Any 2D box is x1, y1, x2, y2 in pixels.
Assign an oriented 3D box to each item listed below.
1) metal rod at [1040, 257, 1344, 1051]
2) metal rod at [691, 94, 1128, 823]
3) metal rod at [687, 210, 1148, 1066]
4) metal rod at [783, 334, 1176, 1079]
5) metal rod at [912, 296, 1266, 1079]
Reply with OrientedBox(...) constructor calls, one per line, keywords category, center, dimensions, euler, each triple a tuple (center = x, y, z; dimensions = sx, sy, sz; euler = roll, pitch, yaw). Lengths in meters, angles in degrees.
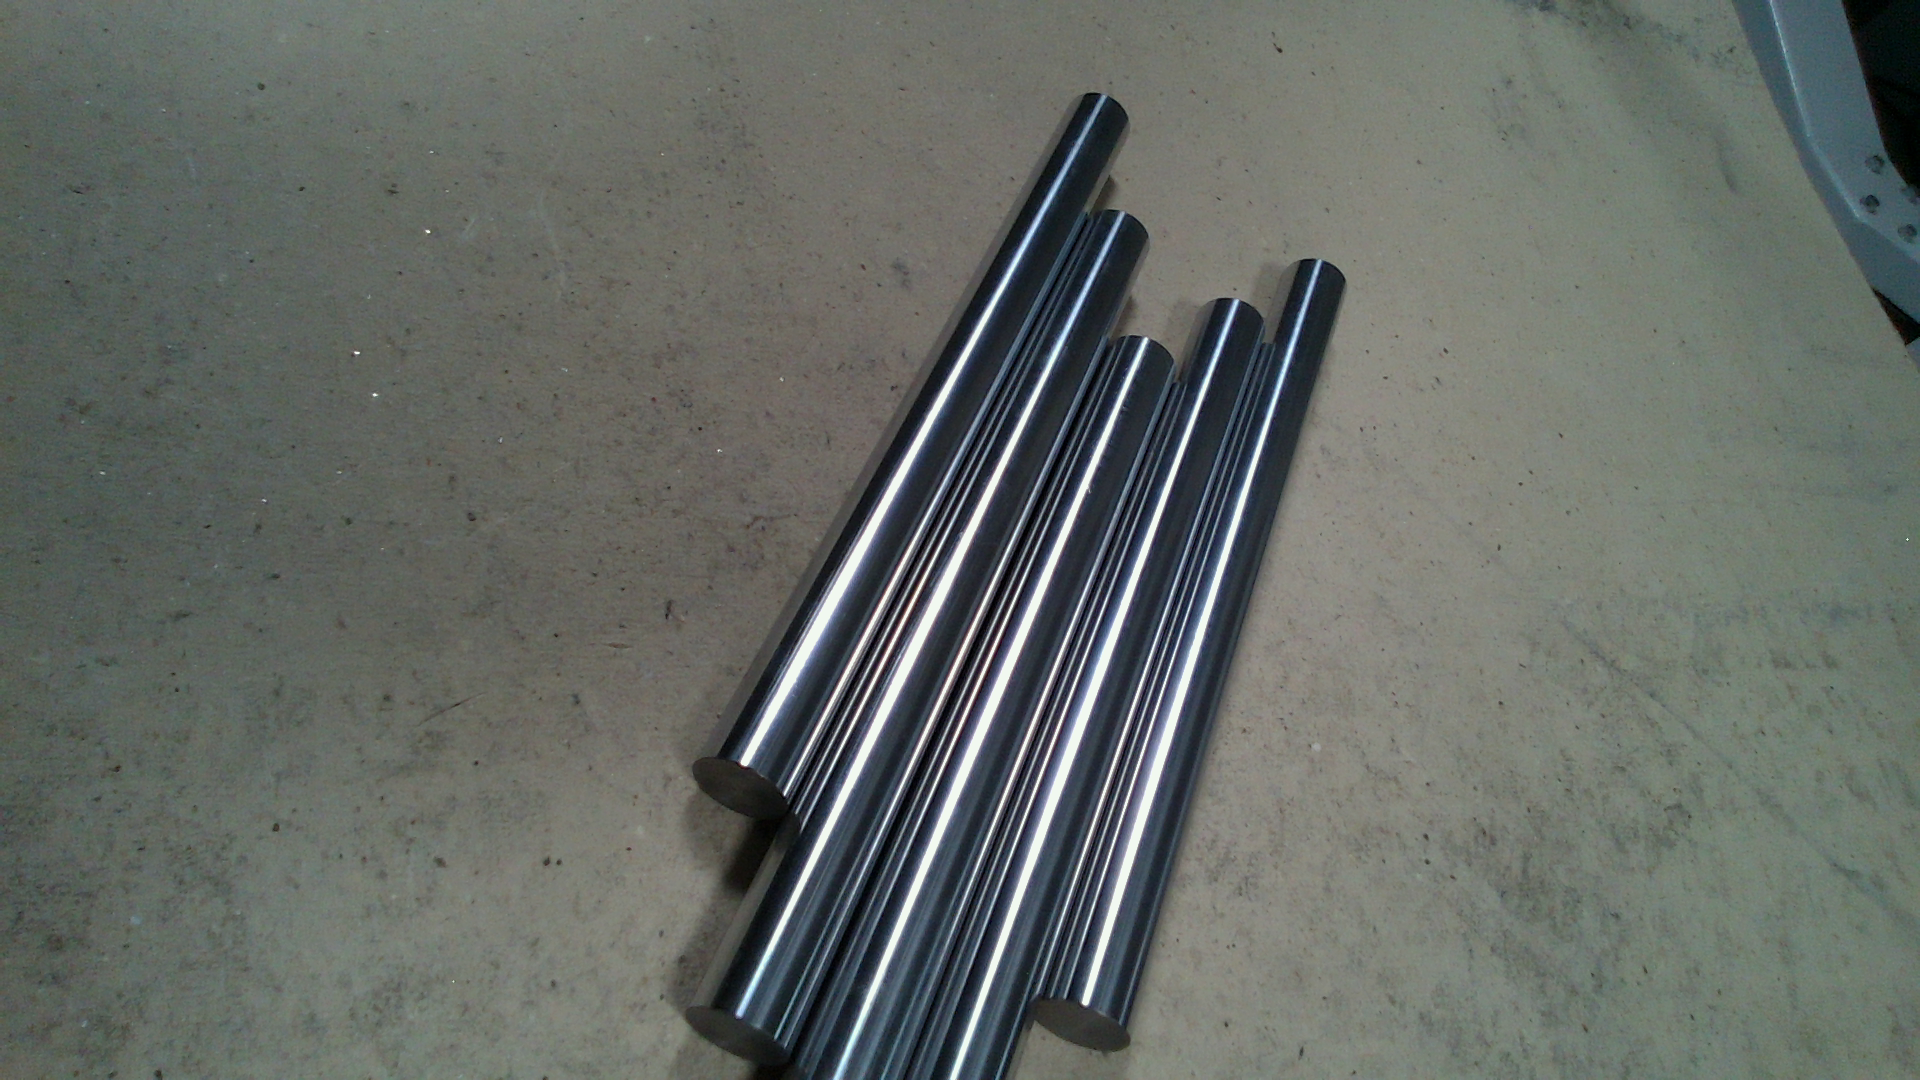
OrientedBox(category="metal rod", center=(0.081, 0.011, 0.426), dimensions=(0.025, 0.025, 0.301), euler=(32, 52, -8))
OrientedBox(category="metal rod", center=(-0.001, -0.047, 0.418), dimensions=(0.025, 0.025, 0.301), euler=(32, 52, -8))
OrientedBox(category="metal rod", center=(0.003, 0.001, 0.391), dimensions=(0.025, 0.025, 0.301), euler=(32, 51, -8))
OrientedBox(category="metal rod", center=(0.009, 0.048, 0.365), dimensions=(0.025, 0.025, 0.301), euler=(32, 51, -8))
OrientedBox(category="metal rod", center=(0.044, 0.031, 0.395), dimensions=(0.025, 0.025, 0.301), euler=(32, 52, -8))
